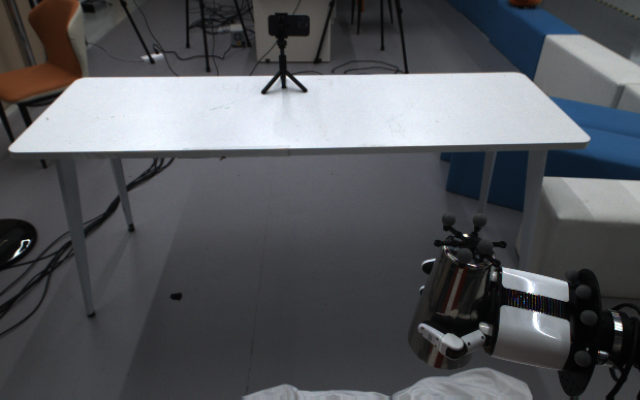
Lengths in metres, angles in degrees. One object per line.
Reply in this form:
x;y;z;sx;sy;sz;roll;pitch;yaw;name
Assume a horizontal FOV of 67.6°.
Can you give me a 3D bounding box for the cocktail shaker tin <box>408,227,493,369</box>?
0.178;0.128;0.635;0.093;0.170;0.093;3;34;-2;cocktail shaker tin
